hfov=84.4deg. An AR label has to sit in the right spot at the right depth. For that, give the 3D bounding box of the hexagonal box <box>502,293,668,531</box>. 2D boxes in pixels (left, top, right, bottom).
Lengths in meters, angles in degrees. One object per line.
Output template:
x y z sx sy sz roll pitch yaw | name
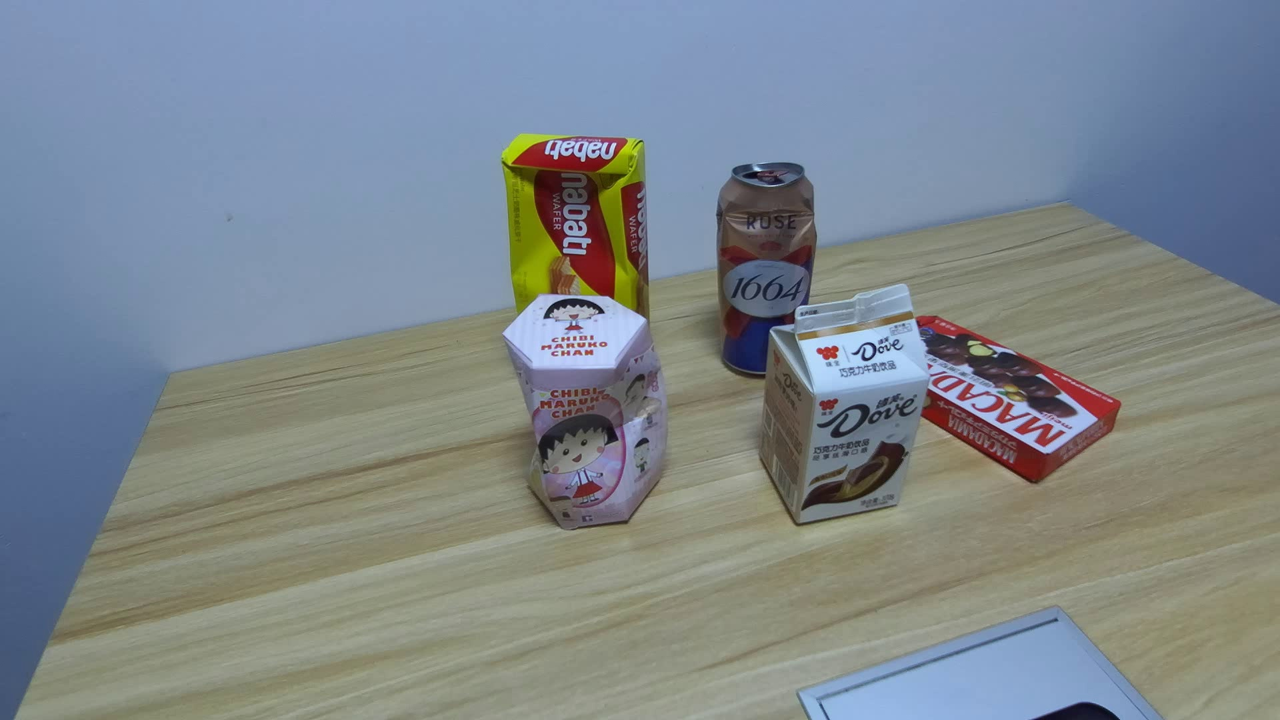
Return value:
-0.038 0.035 0.455 0.089 0.135 0.093 -27 41 -29 | hexagonal box

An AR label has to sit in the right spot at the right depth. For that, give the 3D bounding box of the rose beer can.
0.100 -0.070 0.559 0.075 0.167 0.065 5 33 18 | rose beer can

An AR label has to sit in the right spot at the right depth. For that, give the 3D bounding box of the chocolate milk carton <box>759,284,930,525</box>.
0.126 0.022 0.444 0.075 0.148 0.074 -8 34 -9 | chocolate milk carton

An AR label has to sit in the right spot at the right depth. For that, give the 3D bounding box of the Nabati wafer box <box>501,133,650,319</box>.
-0.044 -0.061 0.530 0.096 0.203 0.042 8 35 14 | Nabati wafer box

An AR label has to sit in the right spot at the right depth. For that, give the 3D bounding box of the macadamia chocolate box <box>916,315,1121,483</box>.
0.256 0.015 0.553 0.103 0.027 0.186 -22 40 -27 | macadamia chocolate box
